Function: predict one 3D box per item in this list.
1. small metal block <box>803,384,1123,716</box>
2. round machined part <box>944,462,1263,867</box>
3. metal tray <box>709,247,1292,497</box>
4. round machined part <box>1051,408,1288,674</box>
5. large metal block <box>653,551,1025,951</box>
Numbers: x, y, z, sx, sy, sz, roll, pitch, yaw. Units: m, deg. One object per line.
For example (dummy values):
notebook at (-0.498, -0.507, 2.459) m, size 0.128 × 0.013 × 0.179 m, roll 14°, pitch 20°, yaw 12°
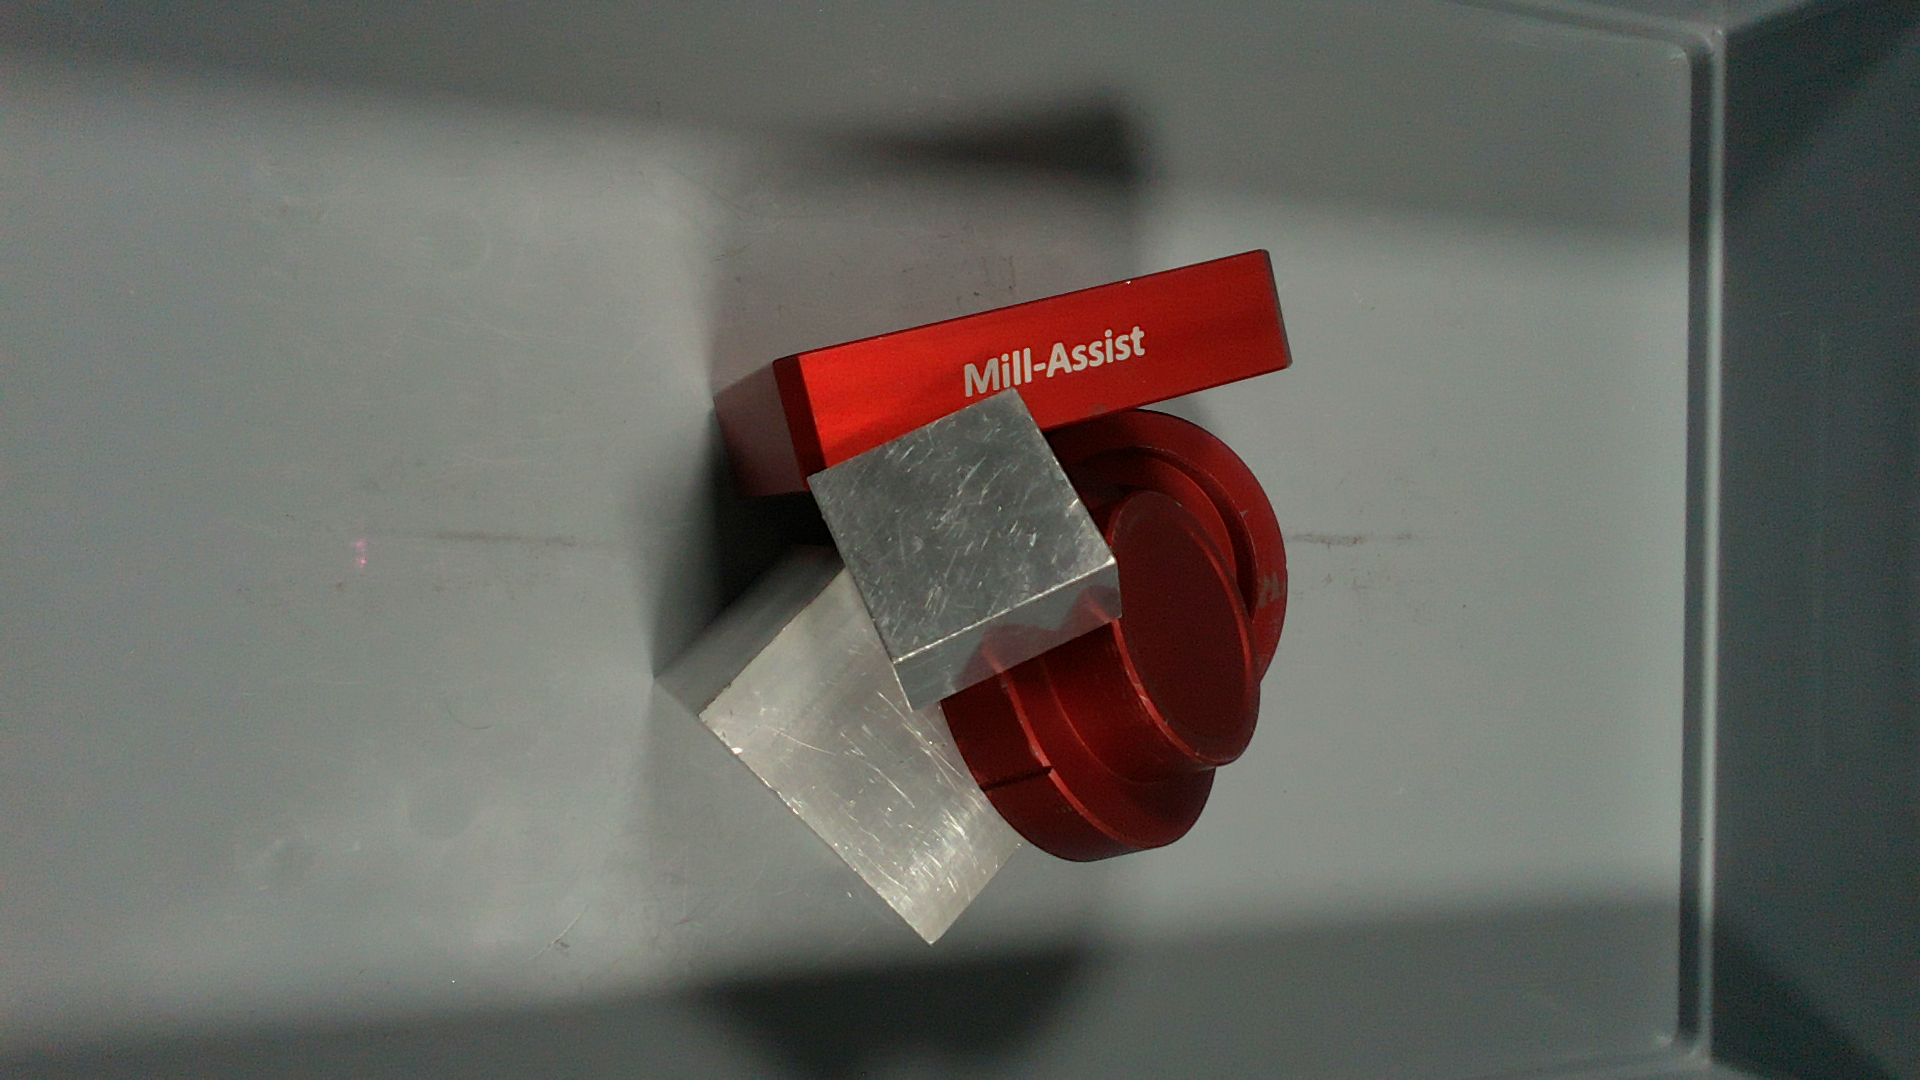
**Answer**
small metal block at (0.001, 0.002, 0.295) m, size 0.050 × 0.025 × 0.050 m, roll -24°, pitch 59°, yaw -6°
round machined part at (0.039, 0.027, 0.336) m, size 0.098 × 0.042 × 0.098 m, roll 31°, pitch 49°, yaw -43°
metal tray at (0.008, -0.042, 0.360) m, size 0.130 × 0.090 × 0.030 m, roll -16°, pitch 96°, yaw -19°
round machined part at (0.042, 0.012, 0.400) m, size 0.098 × 0.042 × 0.098 m, roll 0°, pitch 90°, yaw -20°
large metal block at (-0.029, 0.049, 0.353) m, size 0.050 × 0.080 × 0.080 m, roll -46°, pitch 104°, yaw -14°
